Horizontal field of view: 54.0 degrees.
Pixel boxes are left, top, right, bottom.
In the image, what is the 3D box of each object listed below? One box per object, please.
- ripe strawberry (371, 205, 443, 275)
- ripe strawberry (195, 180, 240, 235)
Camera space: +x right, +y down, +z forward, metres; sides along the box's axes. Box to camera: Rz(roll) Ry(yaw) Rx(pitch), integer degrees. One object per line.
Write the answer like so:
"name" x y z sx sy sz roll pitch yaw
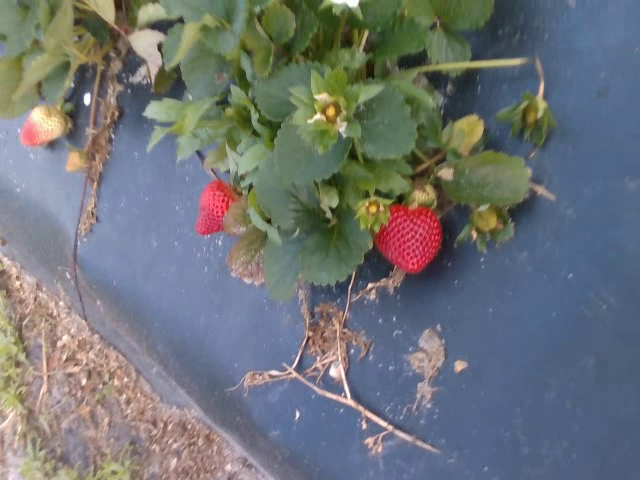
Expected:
"ripe strawberry" 0.053 0.002 0.386 0.046 0.046 0.043 13 -45 -27
"ripe strawberry" -0.078 -0.023 0.480 0.043 0.051 0.042 42 11 28
